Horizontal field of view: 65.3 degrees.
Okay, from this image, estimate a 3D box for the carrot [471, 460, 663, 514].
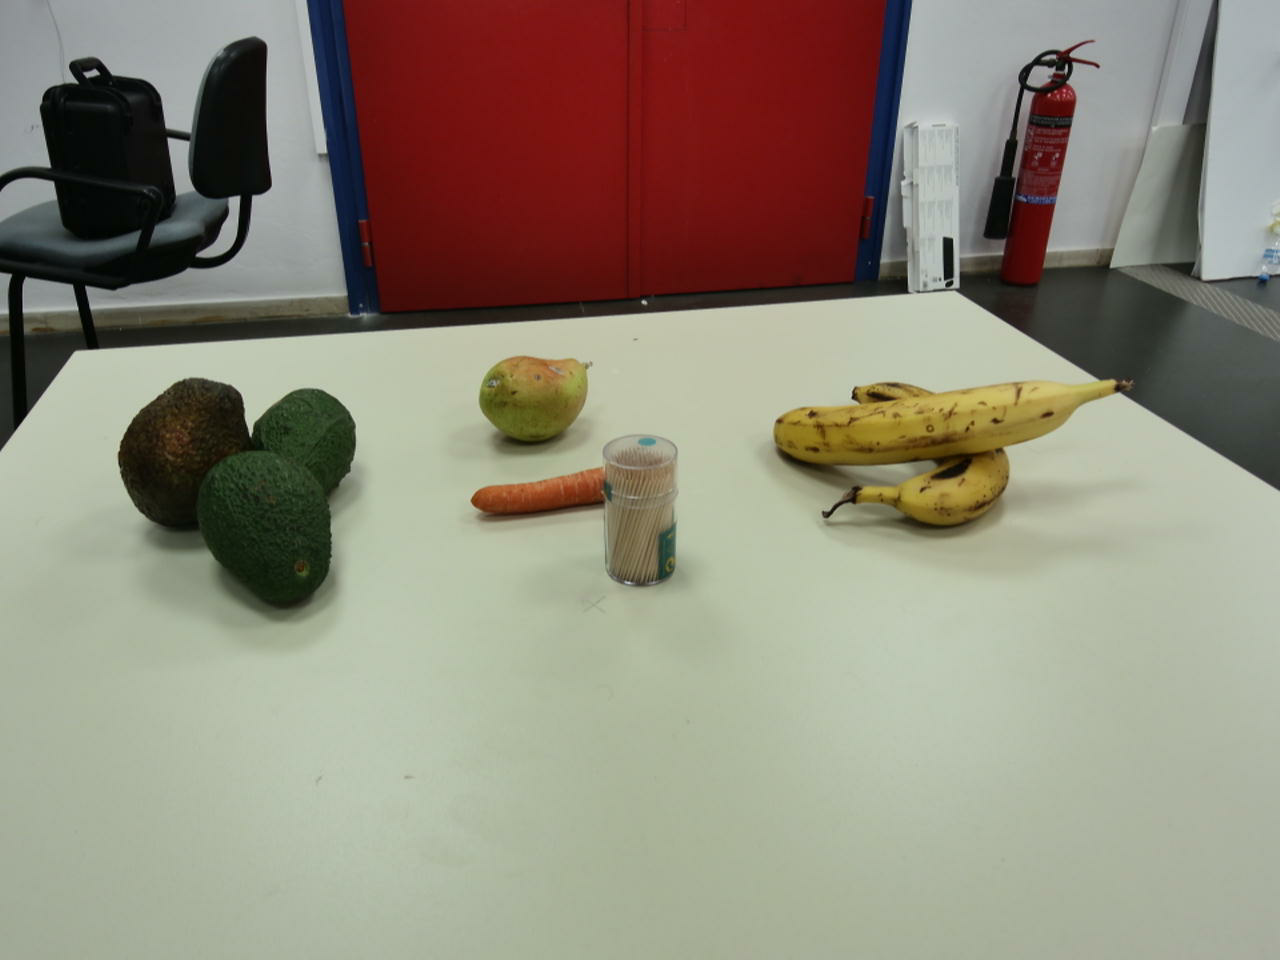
[{"bbox_3d":[-0.045,0.005,0.631,0.122,0.023,0.024,-7,27,-14],"label":"carrot"}]
